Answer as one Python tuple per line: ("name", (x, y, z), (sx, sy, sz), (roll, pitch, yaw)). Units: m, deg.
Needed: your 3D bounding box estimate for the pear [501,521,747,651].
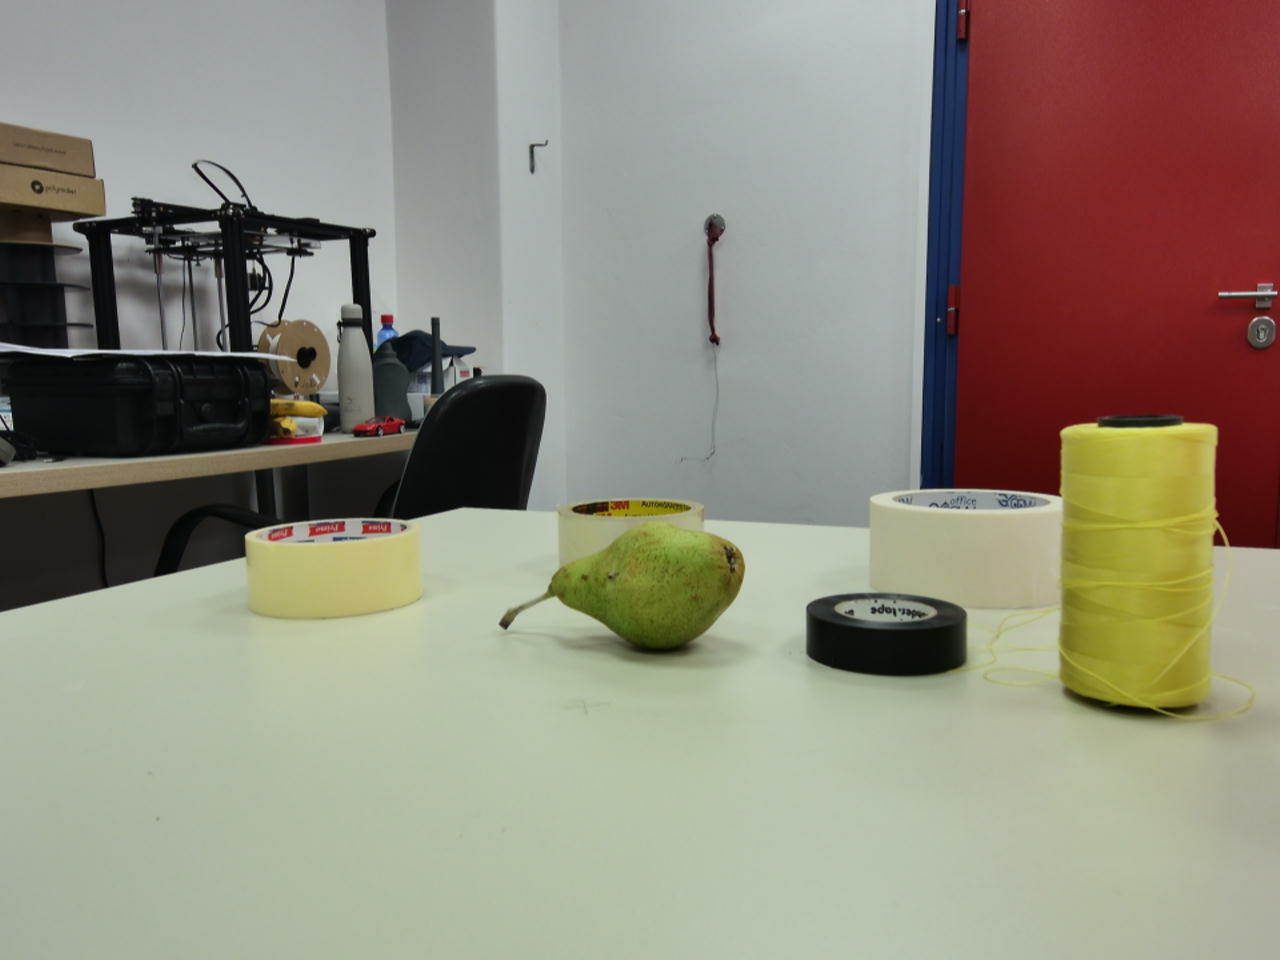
("pear", (-0.006, 0.047, 0.456), (0.111, 0.056, 0.056), (4, 4, 40))
